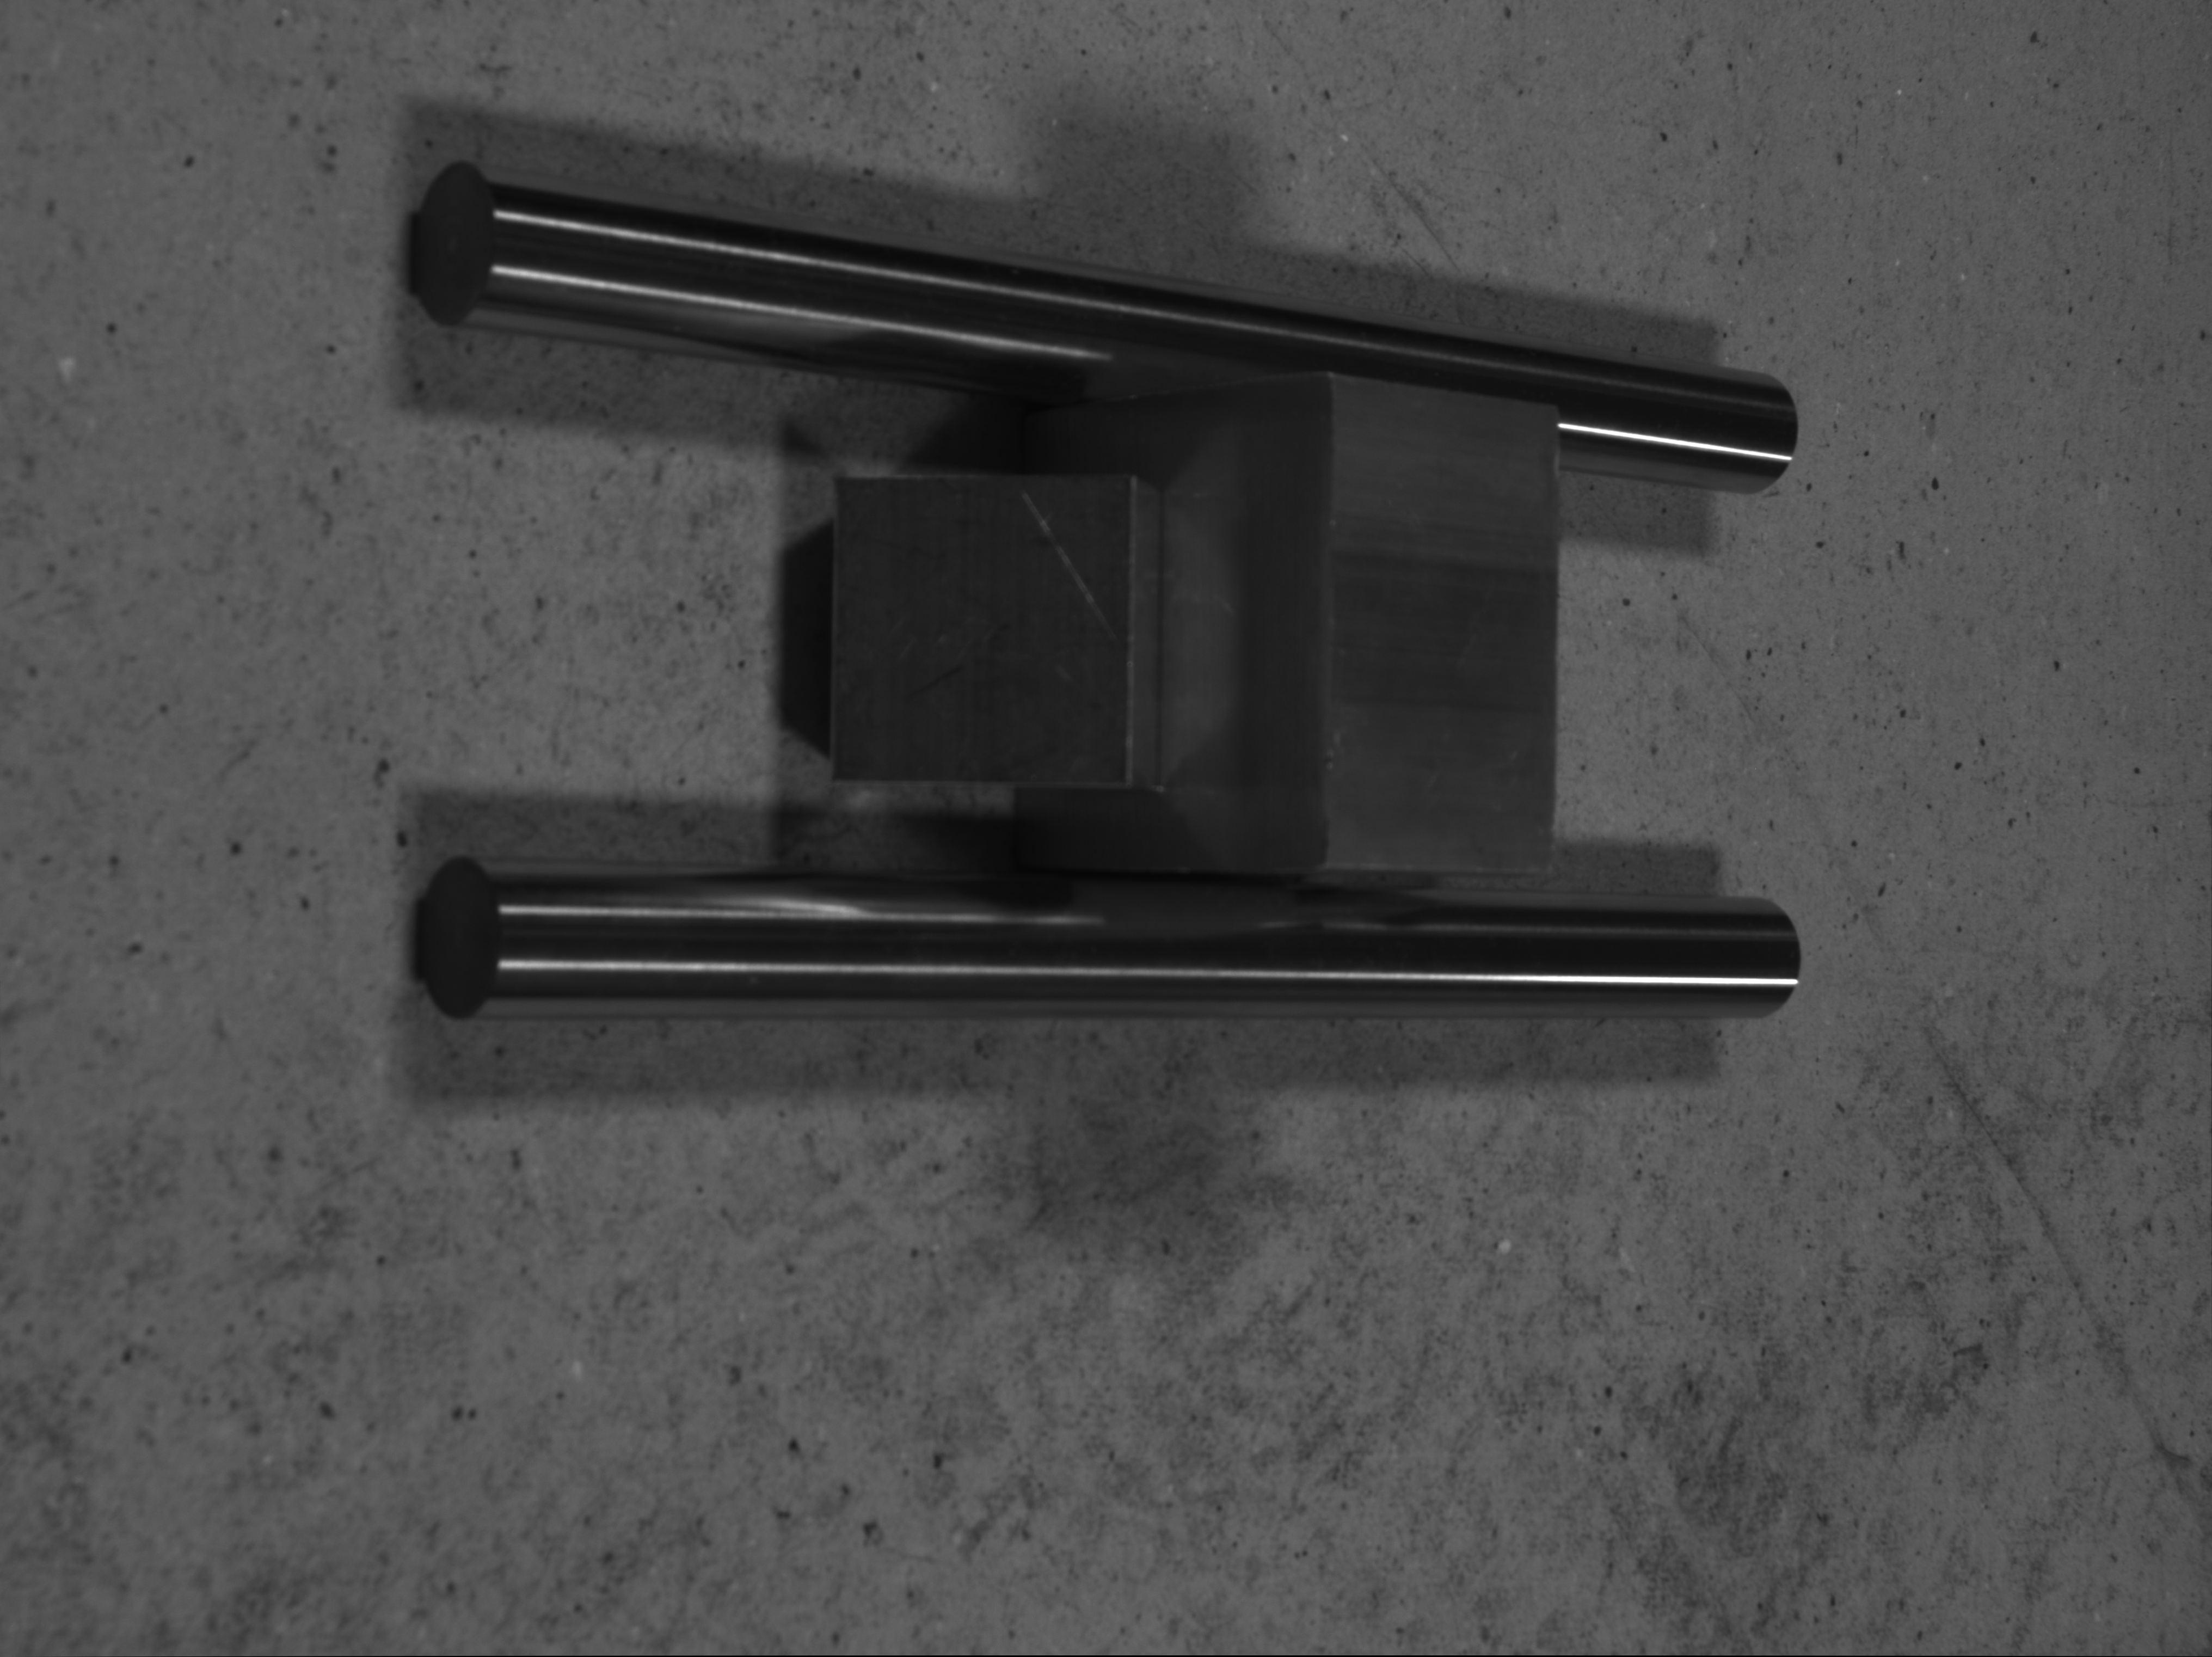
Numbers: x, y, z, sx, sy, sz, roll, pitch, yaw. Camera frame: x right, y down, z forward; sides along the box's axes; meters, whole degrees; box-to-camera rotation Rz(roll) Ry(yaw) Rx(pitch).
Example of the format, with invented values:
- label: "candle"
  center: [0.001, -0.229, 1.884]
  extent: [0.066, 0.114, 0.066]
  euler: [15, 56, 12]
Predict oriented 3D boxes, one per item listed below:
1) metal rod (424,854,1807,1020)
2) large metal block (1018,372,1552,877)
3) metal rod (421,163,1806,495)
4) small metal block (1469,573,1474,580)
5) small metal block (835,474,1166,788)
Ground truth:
- label: "metal rod"
  center: [0.018, 0.022, 0.652]
  extent: [0.301, 0.025, 0.025]
  euler: [3, 88, -40]
- label: "large metal block"
  center: [0.030, -0.032, 0.629]
  extent: [0.050, 0.080, 0.080]
  euler: [1, 89, -40]
- label: "metal rod"
  center: [0.018, -0.084, 0.652]
  extent: [0.301, 0.025, 0.025]
  euler: [2, 89, -40]
- label: "small metal block"
  center: [0.062, -0.028, 0.672]
  extent: [0.025, 0.050, 0.050]
  euler: [0, 89, 2]
- label: "small metal block"
  center: [-0.017, -0.032, 0.606]
  extent: [0.025, 0.050, 0.050]
  euler: [4, 87, -79]
